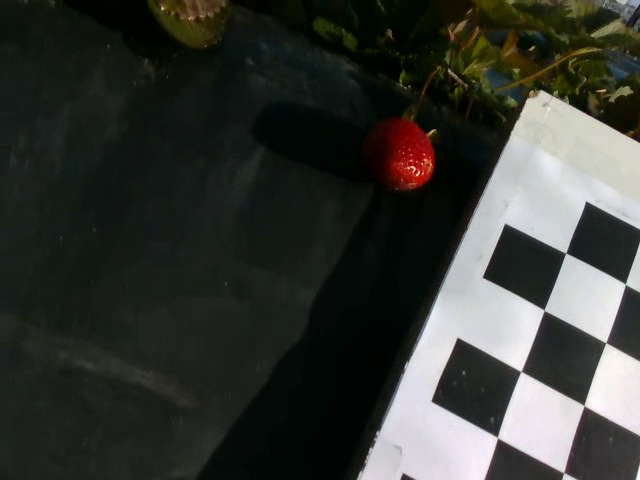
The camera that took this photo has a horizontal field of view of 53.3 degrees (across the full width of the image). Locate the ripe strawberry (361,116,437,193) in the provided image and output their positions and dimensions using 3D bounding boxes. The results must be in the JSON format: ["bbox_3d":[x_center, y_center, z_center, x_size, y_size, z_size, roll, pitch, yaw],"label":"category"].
[{"bbox_3d":[0.026,-0.026,0.207,0.034,0.033,0.038,27,17,1],"label":"ripe strawberry"}]
